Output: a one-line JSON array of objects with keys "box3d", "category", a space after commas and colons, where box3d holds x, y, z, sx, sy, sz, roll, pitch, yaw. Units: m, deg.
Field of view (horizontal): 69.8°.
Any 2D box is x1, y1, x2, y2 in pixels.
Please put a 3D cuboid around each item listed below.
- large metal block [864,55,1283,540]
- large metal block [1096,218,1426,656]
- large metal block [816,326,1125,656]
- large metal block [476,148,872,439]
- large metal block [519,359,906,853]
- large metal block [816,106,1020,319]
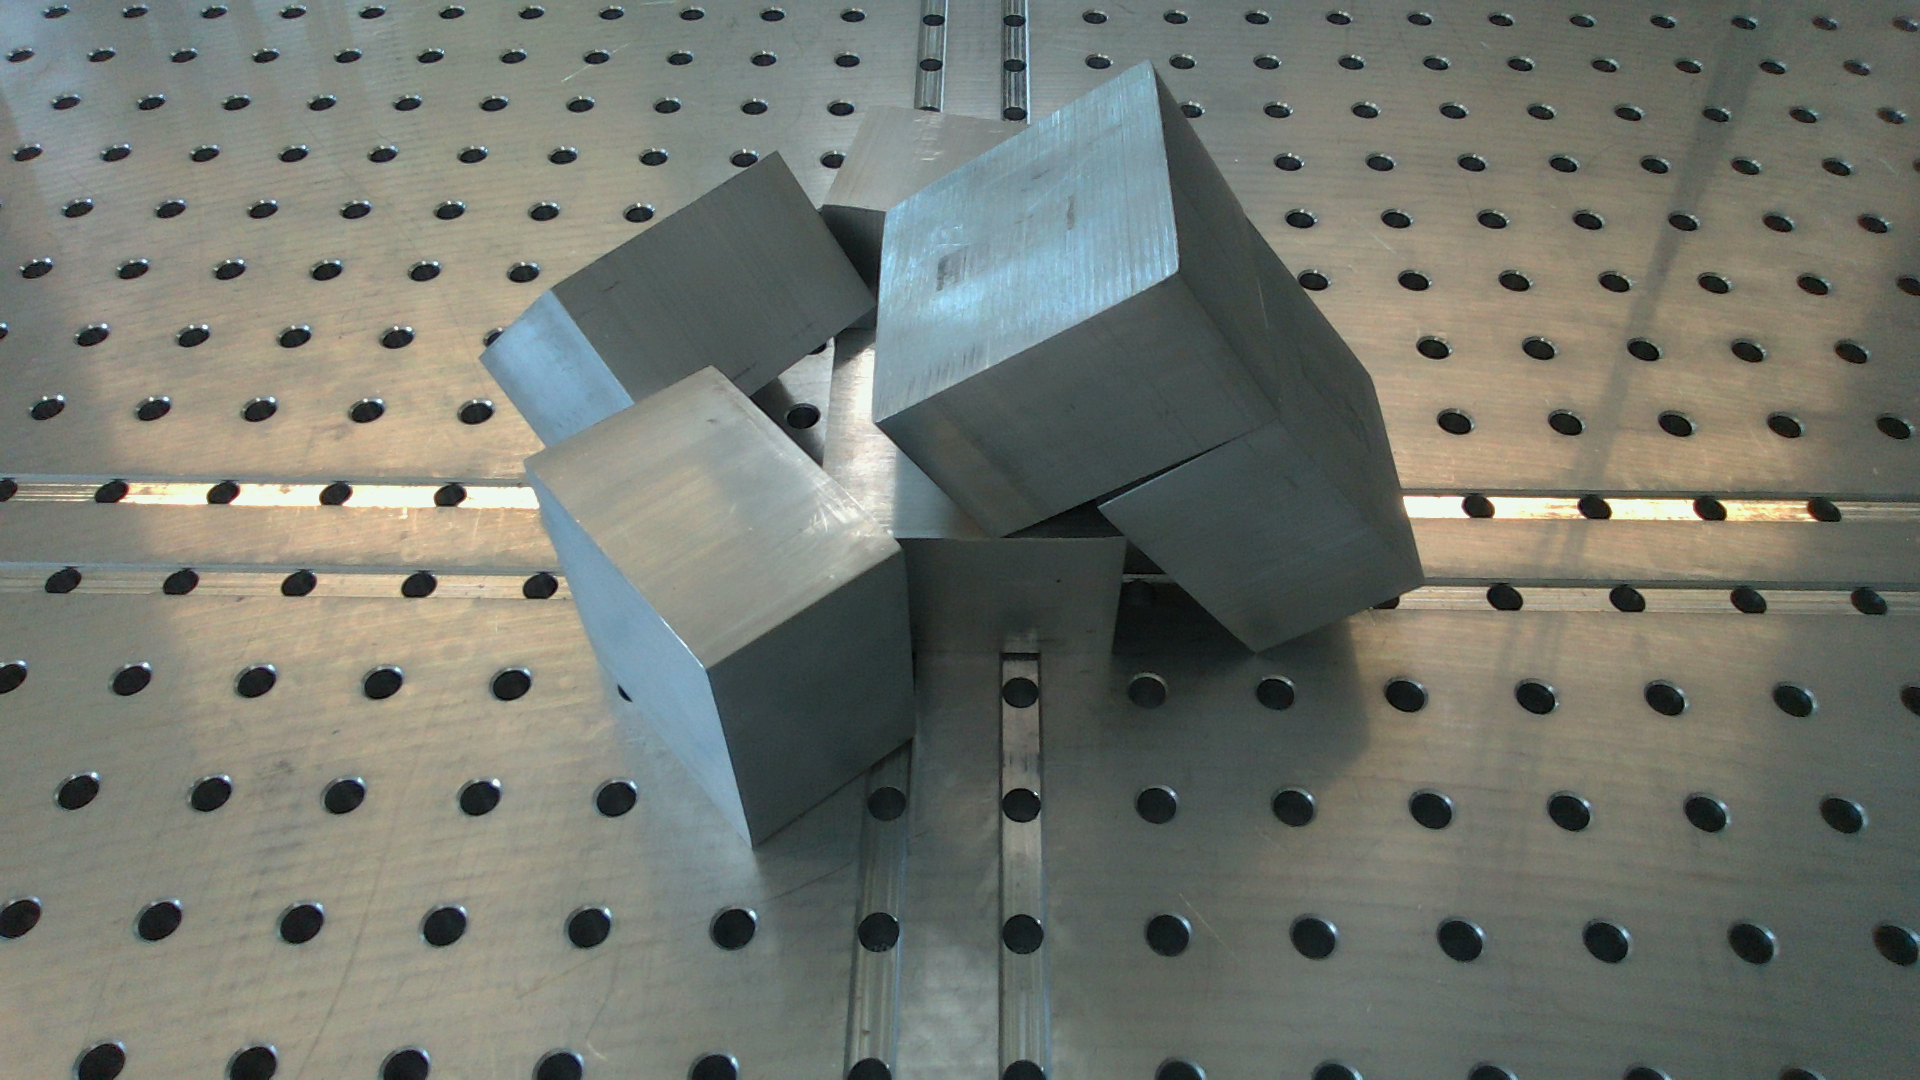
[{"box3d": [0.026, -0.058, 0.337, 0.080, 0.050, 0.080, -24, 43, 25], "category": "large metal block"}, {"box3d": [0.077, -0.029, 0.372, 0.050, 0.080, 0.080, -27, 43, 28], "category": "large metal block"}, {"box3d": [0.002, -0.015, 0.391, 0.080, 0.050, 0.080, 1, 50, 1], "category": "large metal block"}, {"box3d": [-0.084, -0.061, 0.402, 0.080, 0.080, 0.050, -41, 105, -29], "category": "large metal block"}, {"box3d": [-0.059, 0.017, 0.343, 0.050, 0.080, 0.080, -32, 57, -25], "category": "large metal block"}, {"box3d": [0.005, -0.081, 0.427, 0.080, 0.080, 0.050, 10, 50, 9], "category": "large metal block"}]
